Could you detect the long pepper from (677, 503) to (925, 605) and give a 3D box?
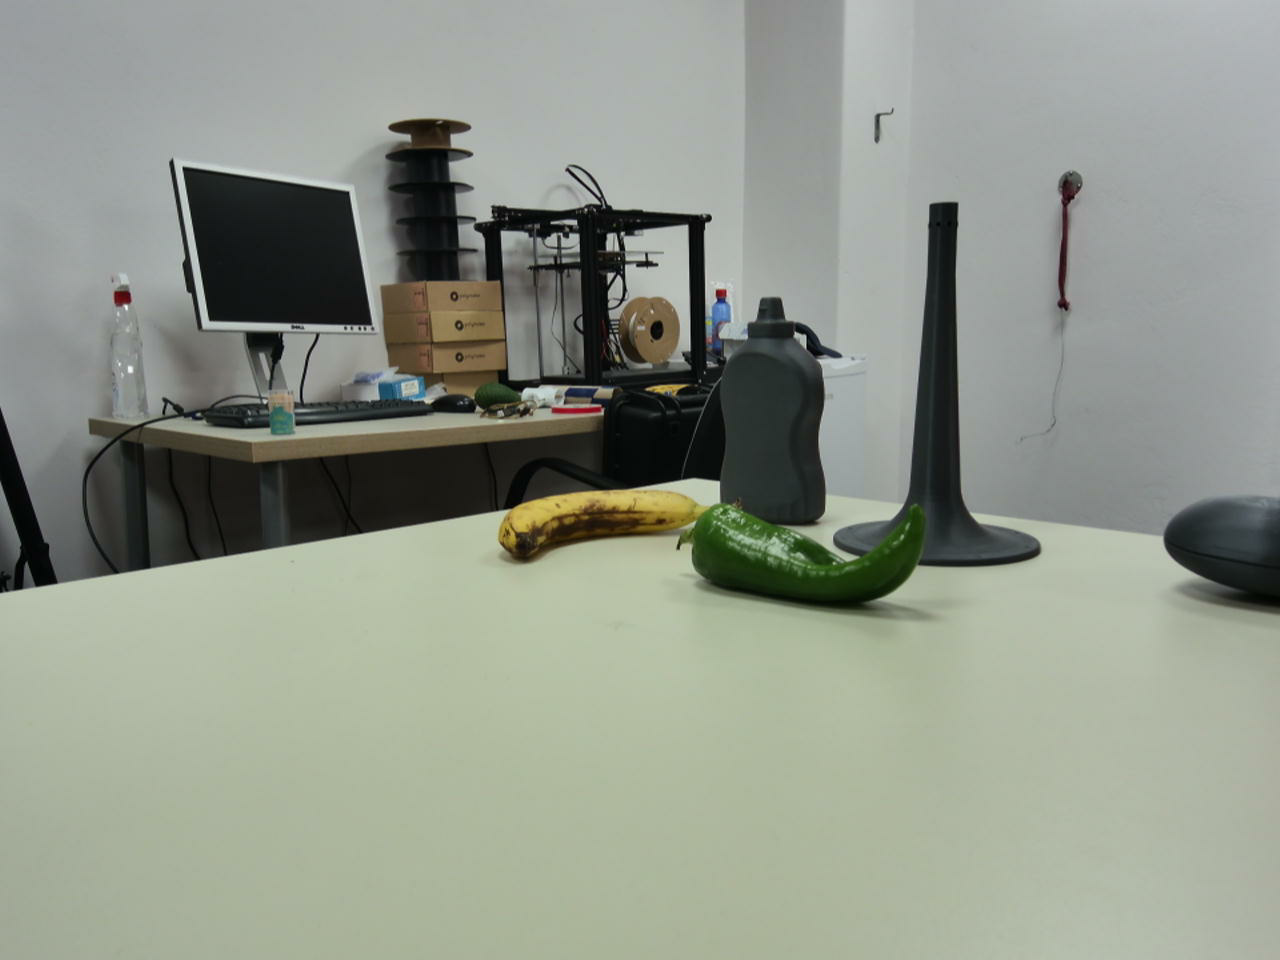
[{"bbox_3d":[0.092,0.039,0.625,0.058,0.065,0.175,-5,9,-45],"label":"long pepper"}]
